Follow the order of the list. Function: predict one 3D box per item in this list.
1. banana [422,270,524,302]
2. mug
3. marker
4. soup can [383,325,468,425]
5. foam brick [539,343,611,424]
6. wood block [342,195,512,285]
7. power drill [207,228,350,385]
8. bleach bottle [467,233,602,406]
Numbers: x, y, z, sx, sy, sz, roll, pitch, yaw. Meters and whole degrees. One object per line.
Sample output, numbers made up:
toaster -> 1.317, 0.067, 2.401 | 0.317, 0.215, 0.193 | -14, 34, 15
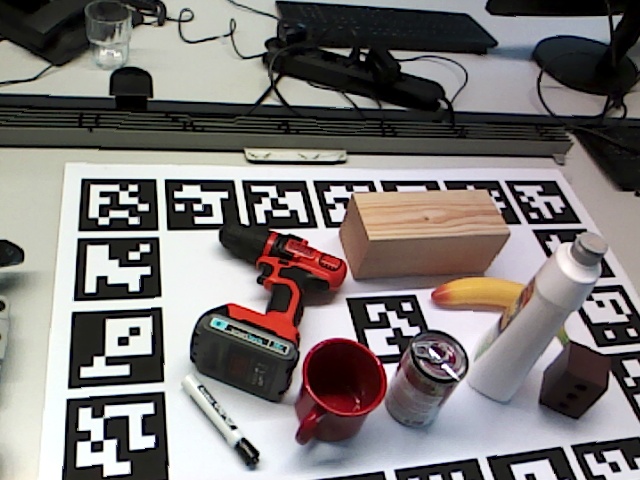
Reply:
banana -> 0.237, 0.077, 0.854 | 0.197, 0.039, 0.074 | 12, 59, -6
mug -> 0.011, 0.170, 0.678 | 0.093, 0.081, 0.117 | 32, 51, 13
marker -> -0.106, 0.196, 0.670 | 0.019, 0.019, 0.122 | -28, 60, -32
soup can -> 0.117, 0.154, 0.699 | 0.068, 0.102, 0.068 | 9, 42, -8
foam brick -> 0.312, 0.176, 0.757 | 0.053, 0.078, 0.051 | 23, 44, 10
wood block -> 0.146, -0.003, 0.875 | 0.205, 0.091, 0.090 | -2, 49, -16
power drill -> -0.067, 0.074, 0.774 | 0.184, 0.057, 0.187 | 22, 45, 2
bleach bottle -> 0.244, 0.084, 0.704 | 0.068, 0.250, 0.102 | 20, 45, 5
